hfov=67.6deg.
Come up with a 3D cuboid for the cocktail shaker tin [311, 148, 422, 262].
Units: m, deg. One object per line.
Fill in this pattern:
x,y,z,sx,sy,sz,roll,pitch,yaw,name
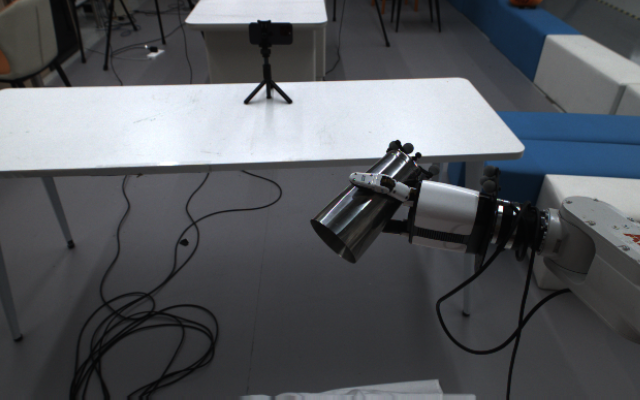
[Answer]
0.076,-0.001,0.737,0.170,0.093,0.093,-44,50,-14,cocktail shaker tin
